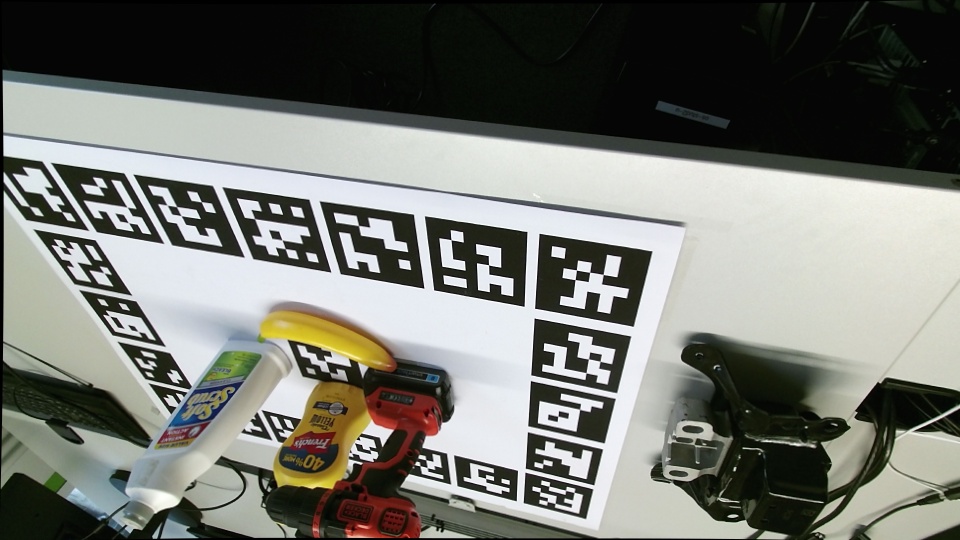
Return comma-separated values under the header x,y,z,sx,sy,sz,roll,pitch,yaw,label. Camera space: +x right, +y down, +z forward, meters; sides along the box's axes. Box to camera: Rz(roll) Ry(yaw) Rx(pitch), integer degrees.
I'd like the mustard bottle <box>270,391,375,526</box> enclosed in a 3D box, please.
x,y,z,sx,sy,sz,roll,pitch,yaw,label
-0.224,0.256,0.724,0.096,0.191,0.058,10,131,13,mustard bottle

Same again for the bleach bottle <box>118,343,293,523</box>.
x,y,z,sx,sy,sz,roll,pitch,yaw,label
-0.356,0.205,0.700,0.103,0.250,0.068,2,128,18,bleach bottle

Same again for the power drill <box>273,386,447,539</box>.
x,y,z,sx,sy,sz,roll,pitch,yaw,label
-0.132,0.236,0.649,0.185,0.186,0.057,8,137,17,power drill

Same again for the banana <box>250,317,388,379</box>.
x,y,z,sx,sy,sz,roll,pitch,yaw,label
-0.212,0.100,0.688,0.198,0.039,0.074,10,127,9,banana
